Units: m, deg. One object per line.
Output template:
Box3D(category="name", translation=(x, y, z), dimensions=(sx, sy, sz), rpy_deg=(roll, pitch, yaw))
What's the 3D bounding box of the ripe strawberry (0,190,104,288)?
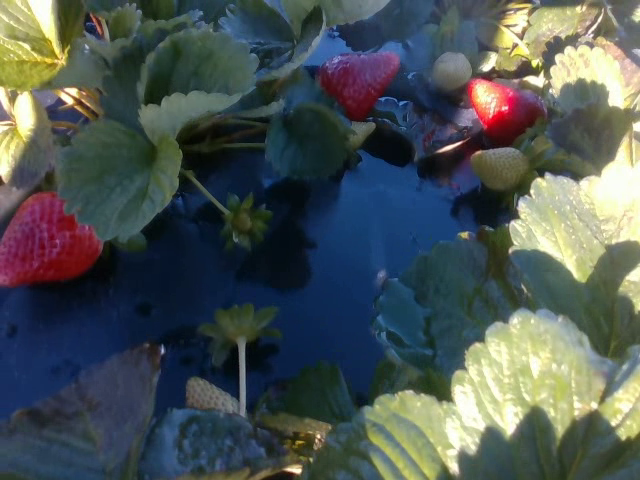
Box3D(category="ripe strawberry", translation=(-0.122, 0.002, 0.268), dimensions=(0.045, 0.042, 0.059), rpy_deg=(-1, 44, 44))
